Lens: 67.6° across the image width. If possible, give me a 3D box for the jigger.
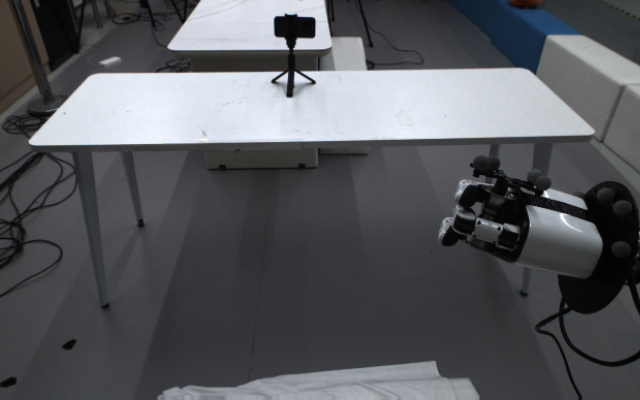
[{"bbox_3d":[0.201,0.021,0.576,0.043,0.071,0.043,15,17,-5],"label":"jigger"}]
